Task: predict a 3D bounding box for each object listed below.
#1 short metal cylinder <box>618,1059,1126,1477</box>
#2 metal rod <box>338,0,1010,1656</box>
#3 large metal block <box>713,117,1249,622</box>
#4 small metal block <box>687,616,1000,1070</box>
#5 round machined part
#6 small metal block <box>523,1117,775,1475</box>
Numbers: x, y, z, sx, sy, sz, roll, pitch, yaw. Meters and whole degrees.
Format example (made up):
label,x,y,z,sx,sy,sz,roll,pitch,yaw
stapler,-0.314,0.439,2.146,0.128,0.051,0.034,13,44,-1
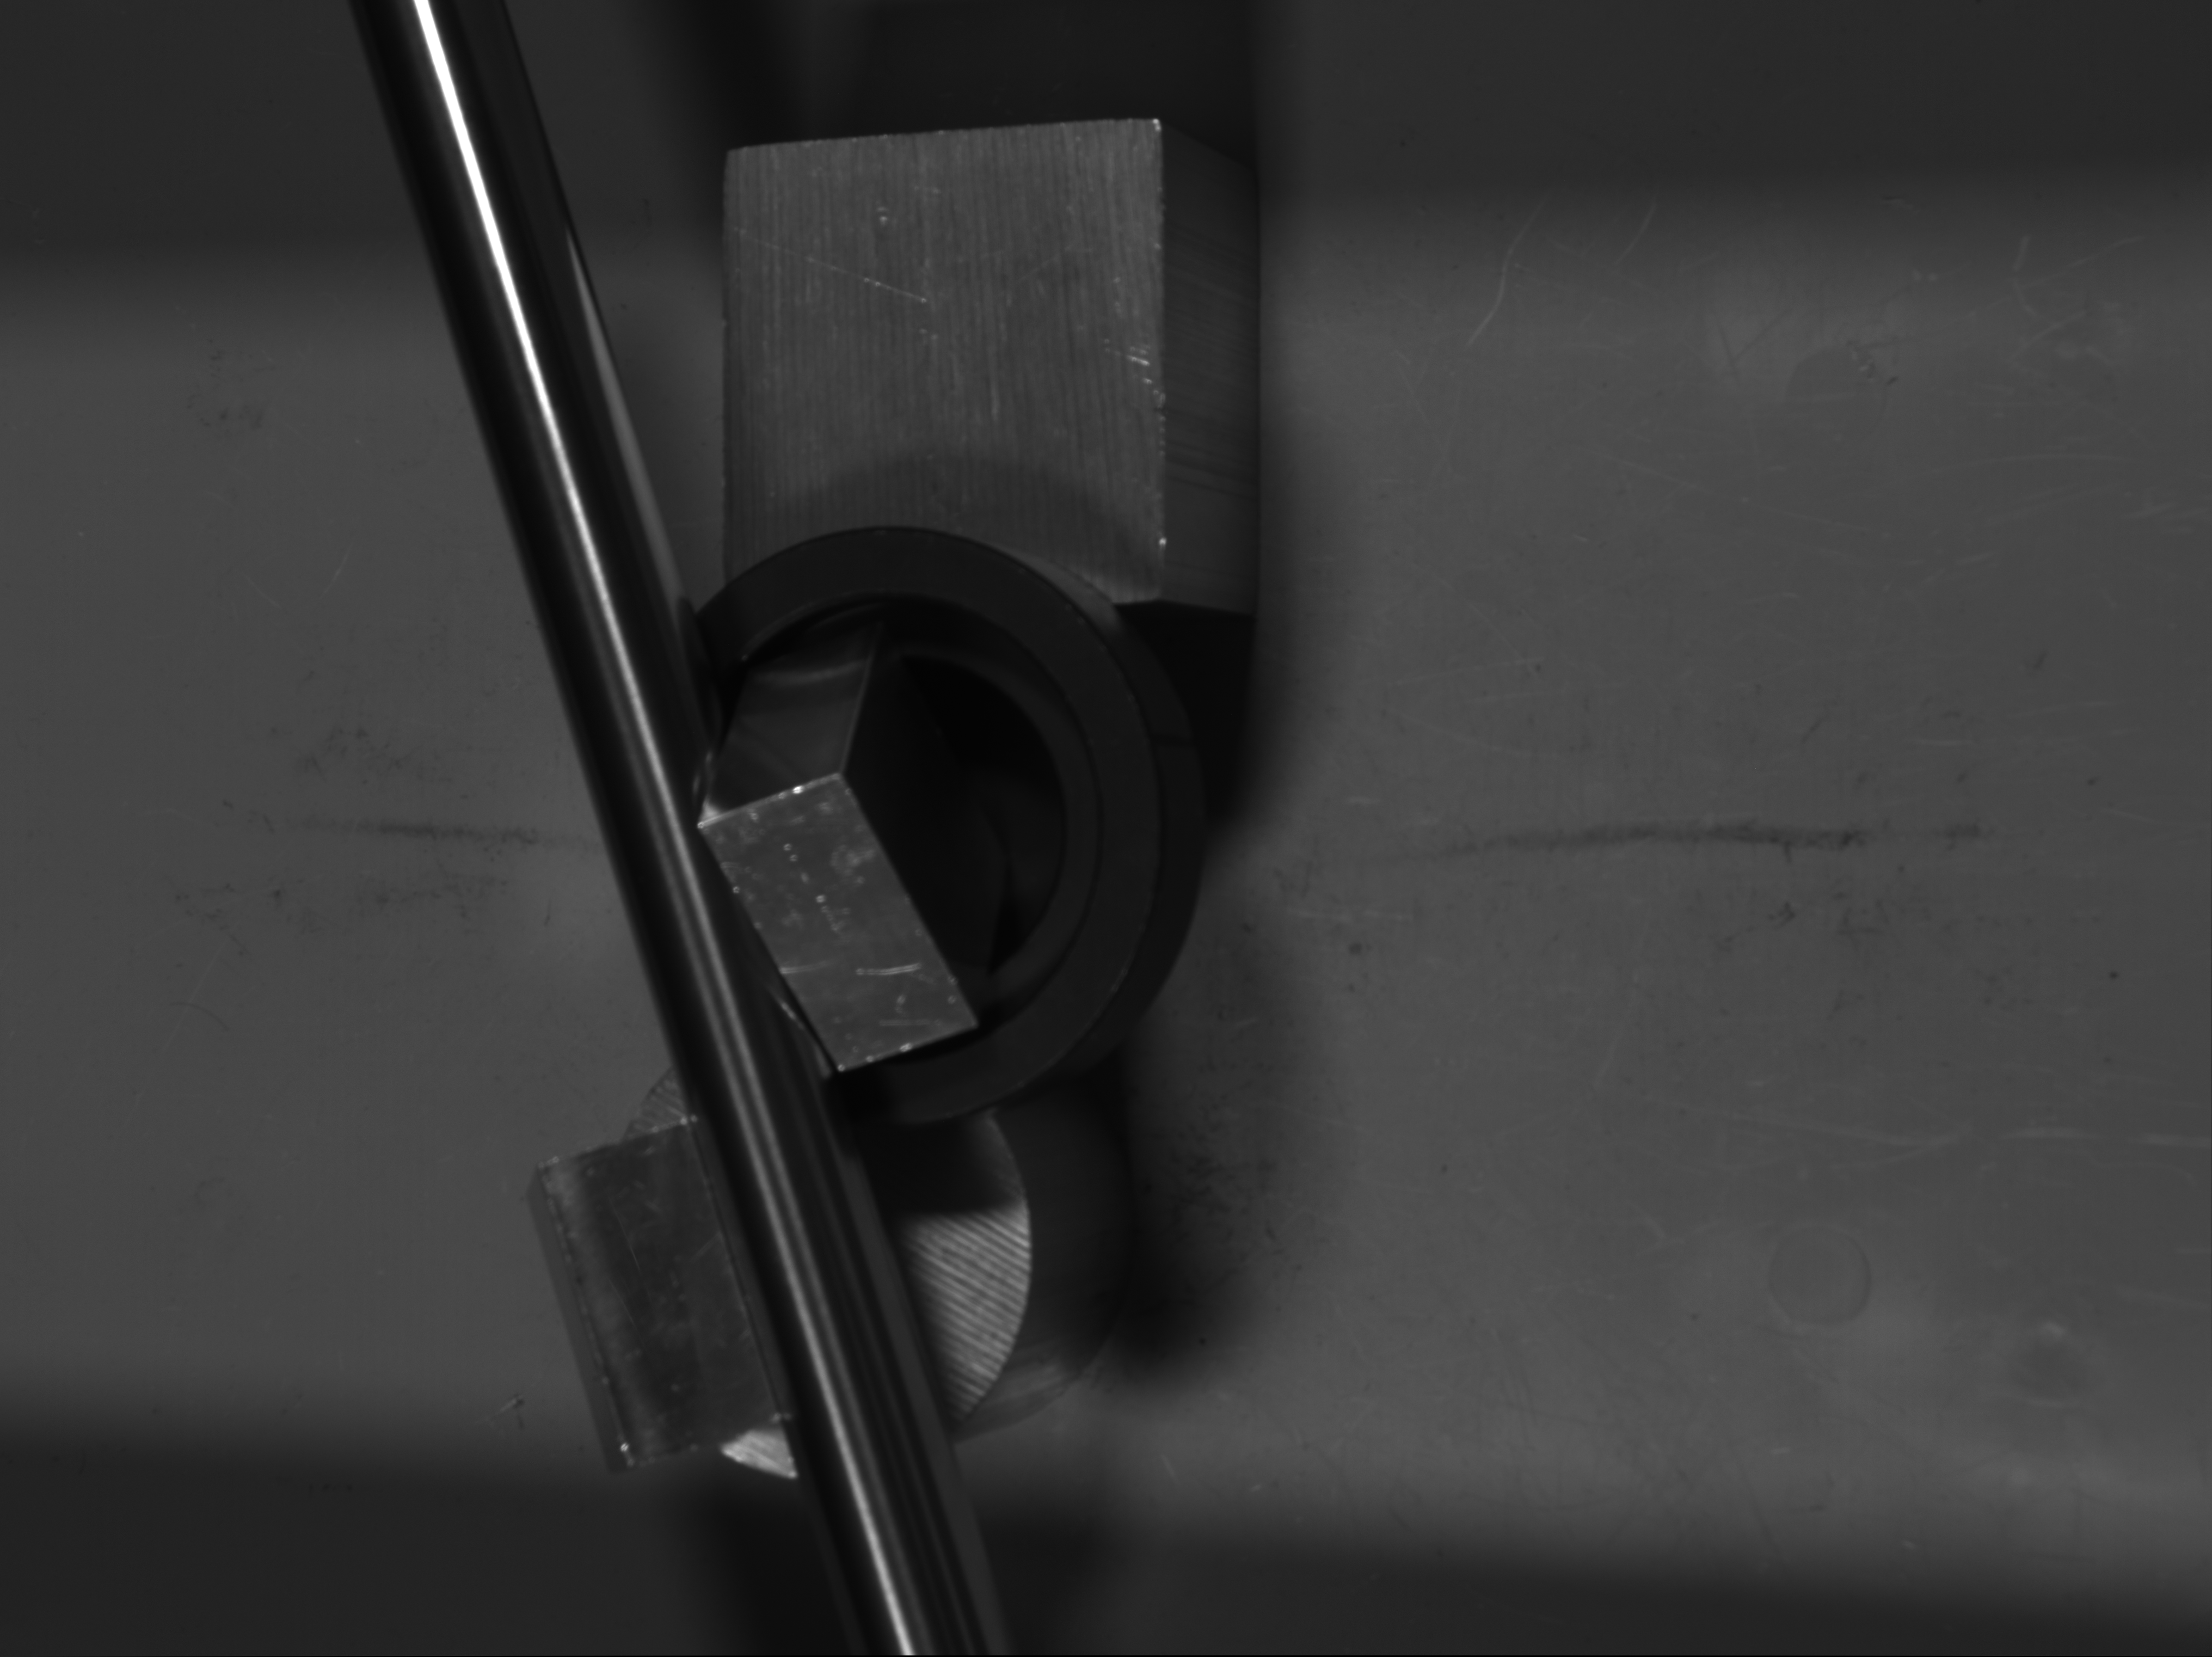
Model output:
label,x,y,z,sx,sy,sz,roll,pitch,yaw
short metal cylinder,-0.043,0.071,0.646,0.080,0.050,0.080,0,90,20
metal rod,-0.071,-0.003,0.595,0.025,0.025,0.300,-20,83,19
large metal block,-0.021,-0.076,0.636,0.080,0.050,0.080,0,90,20
small metal block,-0.041,0.002,0.593,0.025,0.050,0.050,-19,118,15
round machined part,-0.030,-0.001,0.614,0.098,0.042,0.098,0,90,20
small metal block,-0.076,0.078,0.602,0.025,0.050,0.050,-16,83,-14
